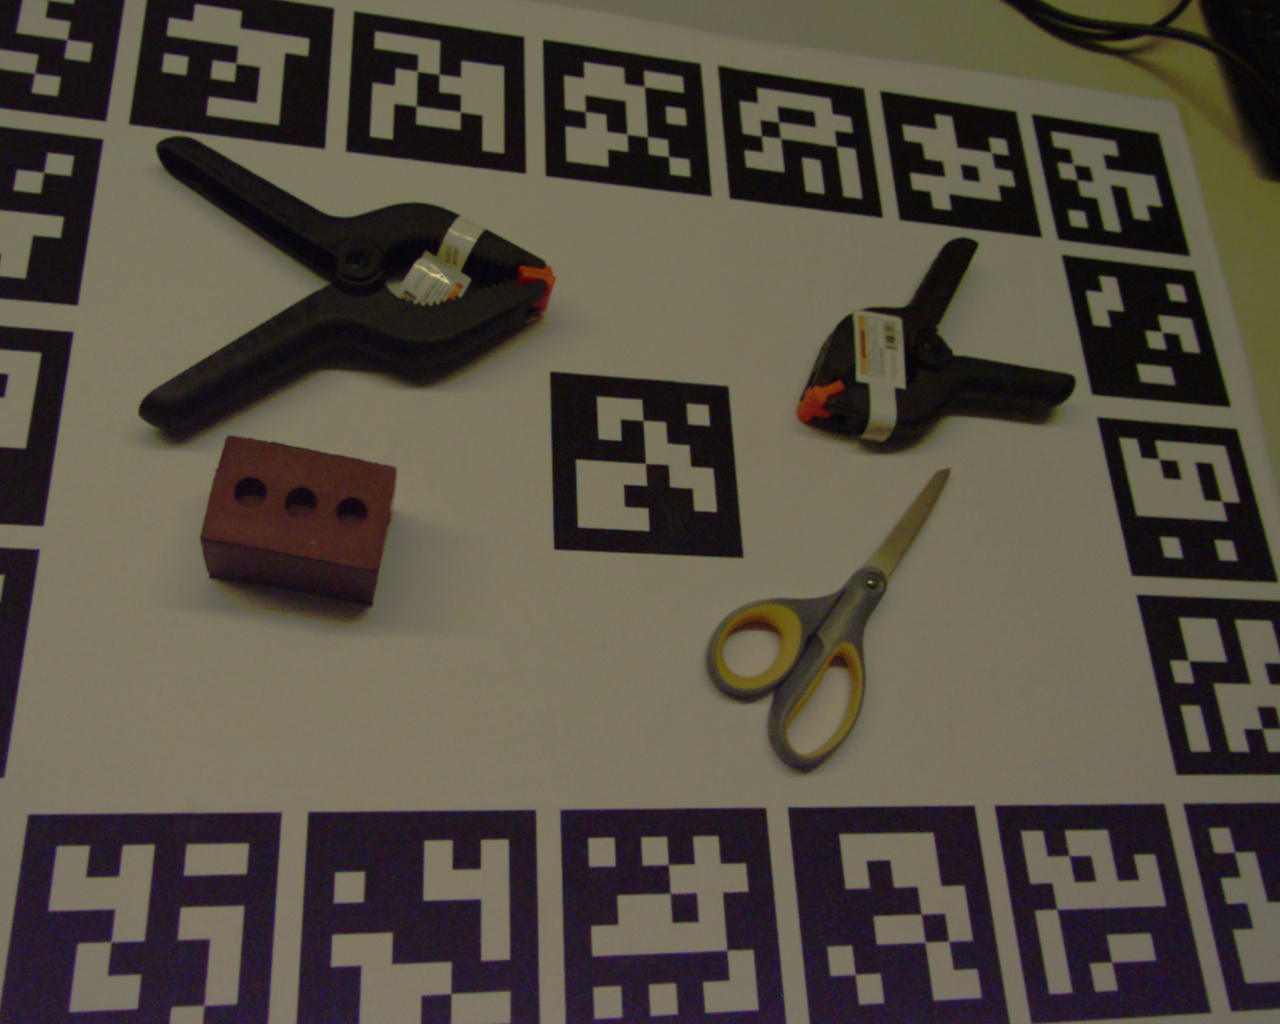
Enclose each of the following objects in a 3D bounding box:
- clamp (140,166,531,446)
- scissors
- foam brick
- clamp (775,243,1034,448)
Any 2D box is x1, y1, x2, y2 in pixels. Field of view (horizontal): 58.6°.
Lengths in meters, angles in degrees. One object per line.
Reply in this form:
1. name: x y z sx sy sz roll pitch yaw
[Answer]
1. clamp: -0.160 -0.112 0.618 0.201 0.037 0.166 -1 67 -16
2. scissors: 0.099 0.048 0.633 0.087 0.016 0.202 42 64 -5
3. foam brick: -0.169 0.014 0.562 0.078 0.051 0.053 9 69 -7
4. clamp: 0.153 -0.087 0.695 0.164 0.037 0.122 -26 85 -21
